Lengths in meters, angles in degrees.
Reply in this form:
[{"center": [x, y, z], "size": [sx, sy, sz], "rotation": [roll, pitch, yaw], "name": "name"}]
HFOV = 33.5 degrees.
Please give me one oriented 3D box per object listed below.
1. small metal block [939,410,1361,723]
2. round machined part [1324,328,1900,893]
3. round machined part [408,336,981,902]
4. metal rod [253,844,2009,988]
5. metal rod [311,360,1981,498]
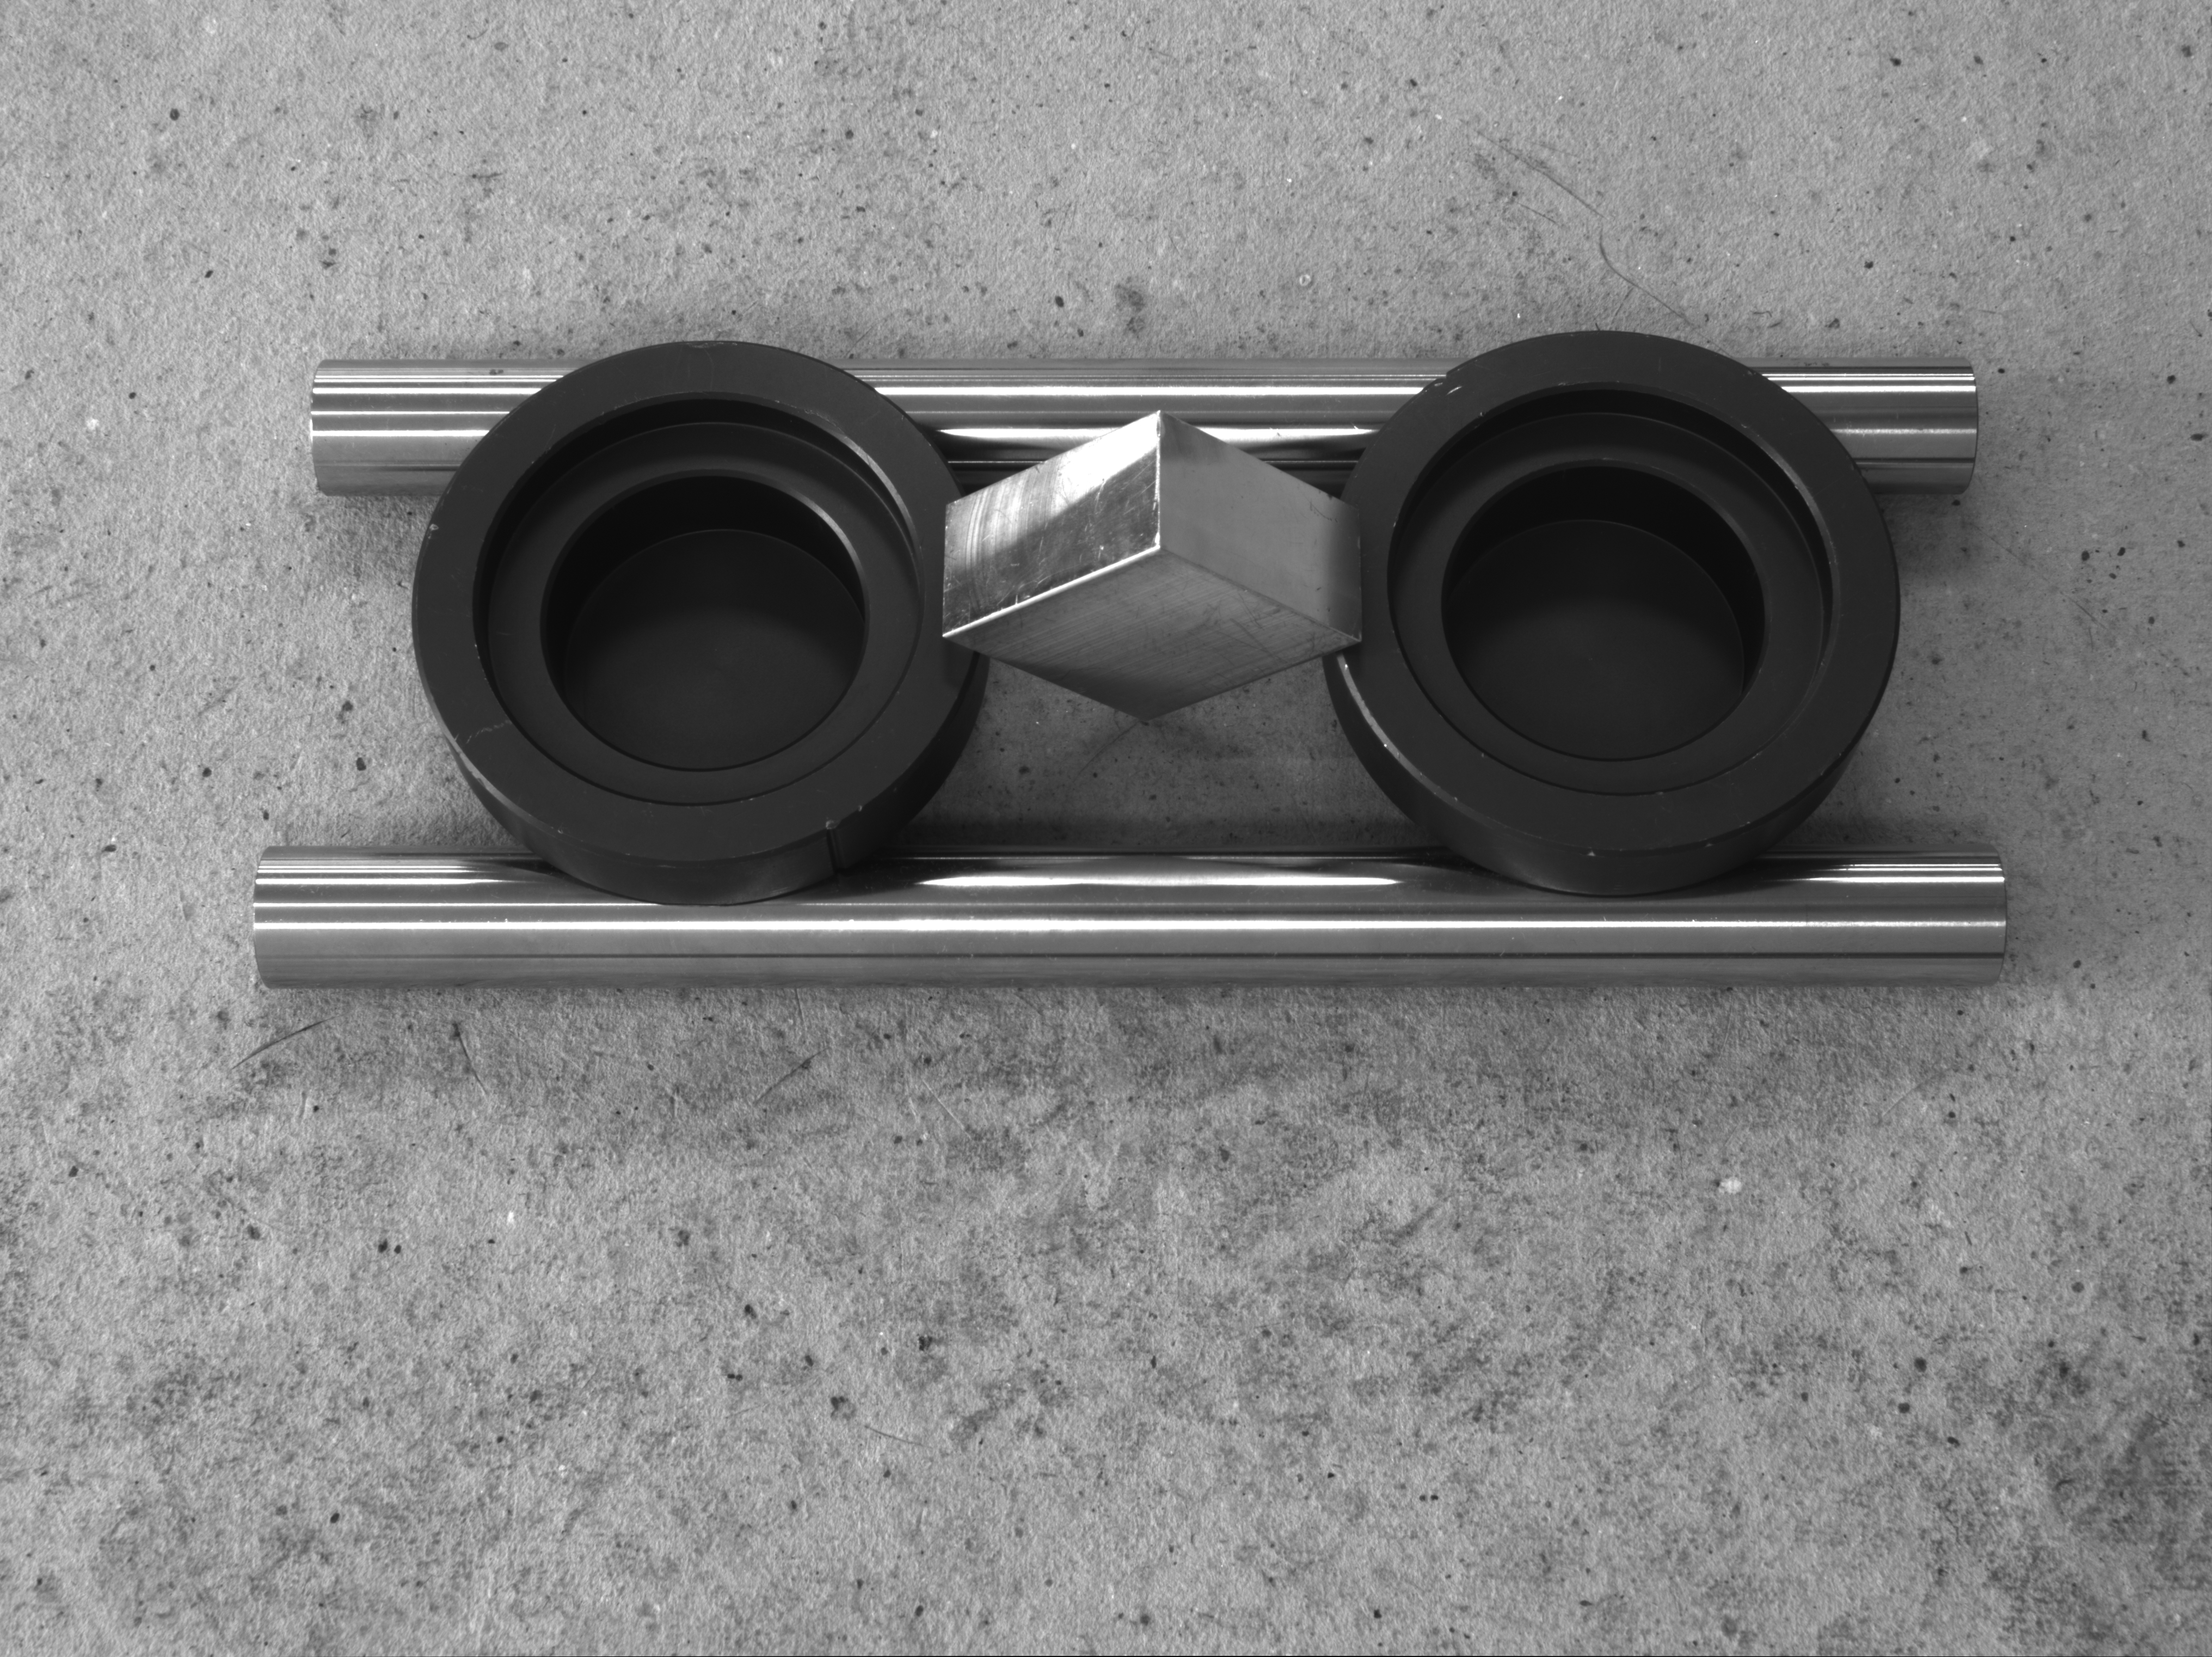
[{"center": [0.007, -0.043, 0.620], "size": [0.050, 0.050, 0.025], "rotation": [-19, 62, 40], "name": "small metal block"}, {"center": [0.086, -0.035, 0.644], "size": [0.098, 0.042, 0.098], "rotation": [0, 70, 0], "name": "round machined part"}, {"center": [-0.070, -0.033, 0.644], "size": [0.098, 0.042, 0.098], "rotation": [0, 70, 0], "name": "round machined part"}, {"center": [0.004, 0.015, 0.640], "size": [0.300, 0.025, 0.025], "rotation": [0, 70, 0], "name": "metal rod"}, {"center": [0.007, -0.073, 0.672], "size": [0.300, 0.025, 0.025], "rotation": [0, 70, 0], "name": "metal rod"}]
